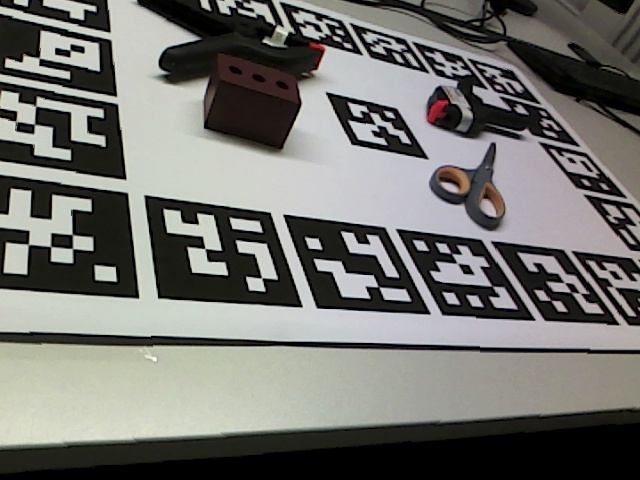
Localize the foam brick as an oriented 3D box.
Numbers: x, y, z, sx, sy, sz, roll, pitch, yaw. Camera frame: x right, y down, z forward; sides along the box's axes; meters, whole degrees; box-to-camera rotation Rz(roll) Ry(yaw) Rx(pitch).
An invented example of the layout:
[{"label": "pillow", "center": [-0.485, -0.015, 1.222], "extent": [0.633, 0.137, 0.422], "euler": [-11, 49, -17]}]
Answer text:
[{"label": "foam brick", "center": [-0.069, -0.121, 0.585], "extent": [0.078, 0.051, 0.053], "euler": [8, 44, -19]}]

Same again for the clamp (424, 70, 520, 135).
[{"label": "clamp", "center": [0.193, -0.178, 0.832], "extent": [0.164, 0.036, 0.122], "euler": [-23, 67, -45]}]

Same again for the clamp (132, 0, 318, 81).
[{"label": "clamp", "center": [-0.094, -0.214, 0.684], "extent": [0.201, 0.036, 0.166], "euler": [3, 42, -31]}]

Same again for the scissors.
[{"label": "scissors", "center": [0.178, -0.077, 0.710], "extent": [0.087, 0.016, 0.202], "euler": [37, 36, -2]}]
